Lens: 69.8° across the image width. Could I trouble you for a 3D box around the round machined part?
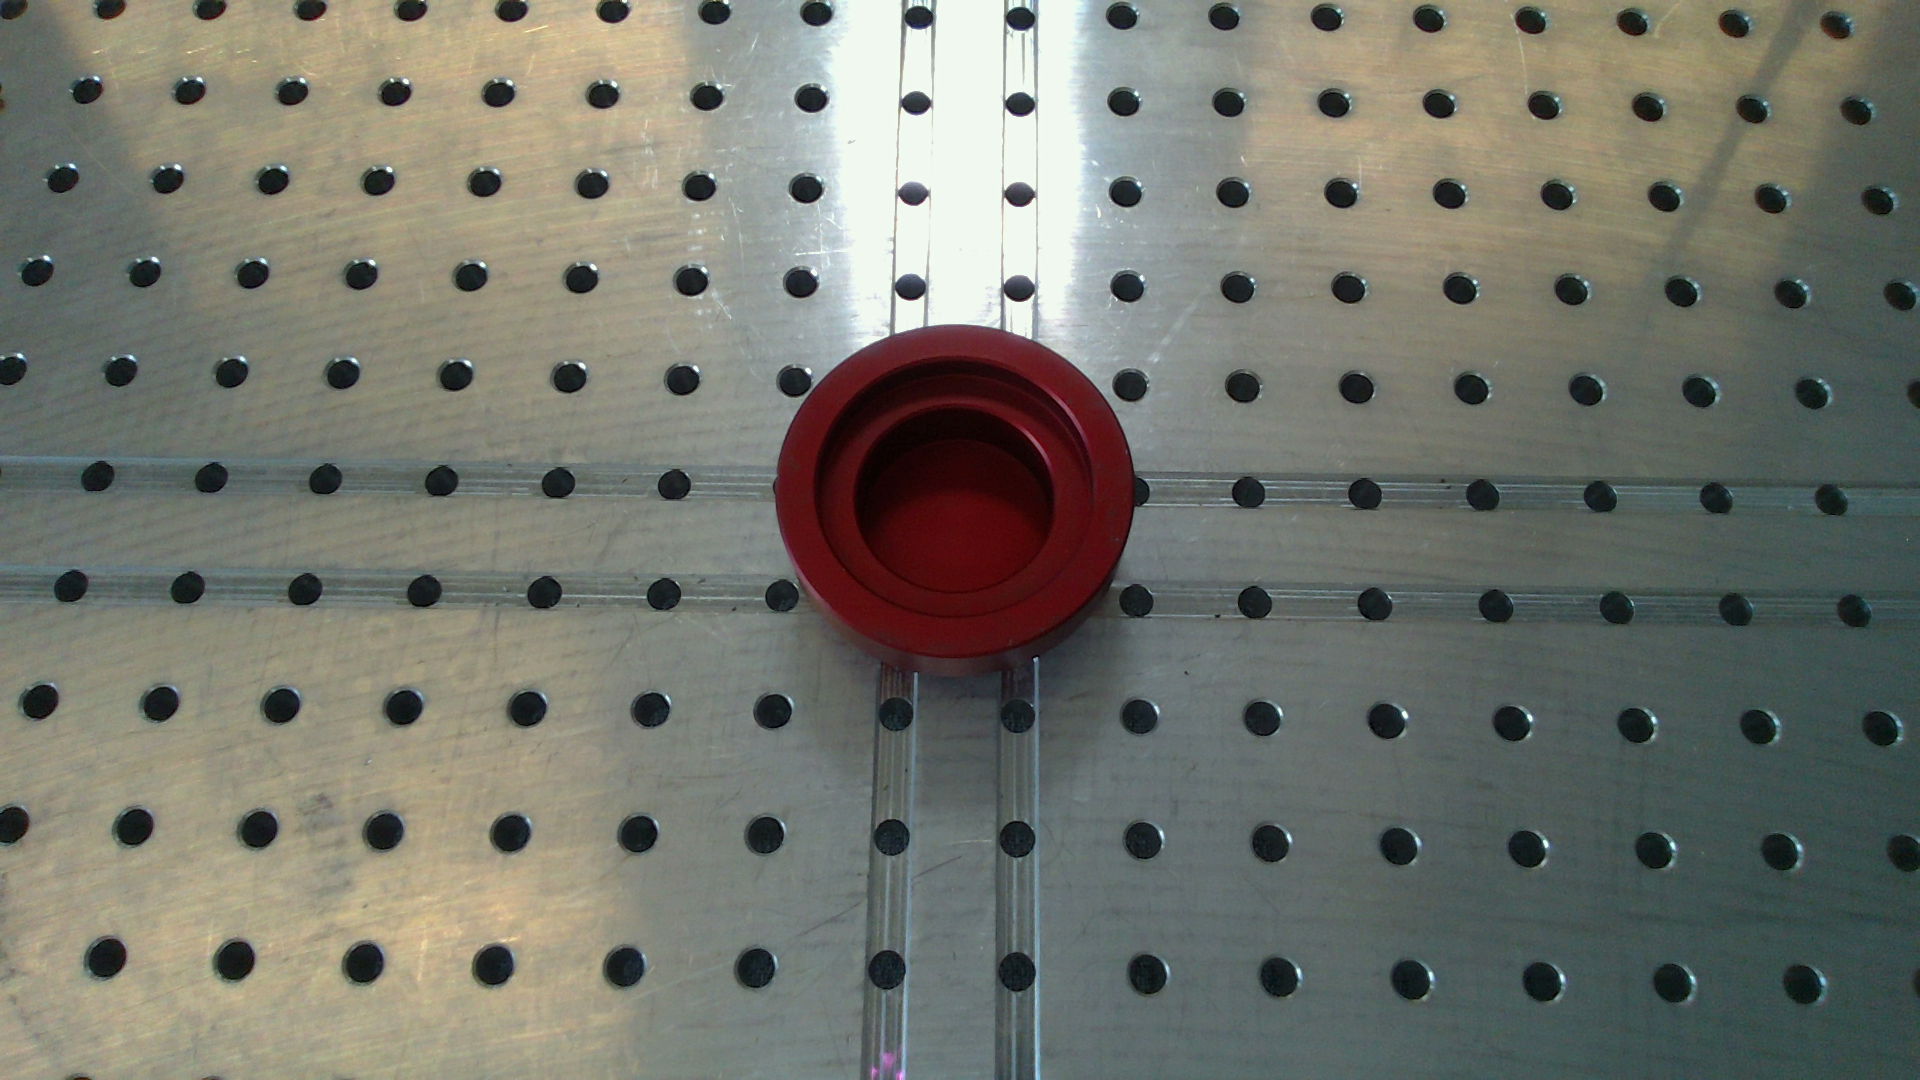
[{"bbox_3d":[-0.001,-0.009,0.391,0.098,0.042,0.098,0,70,0],"label":"round machined part"}]
